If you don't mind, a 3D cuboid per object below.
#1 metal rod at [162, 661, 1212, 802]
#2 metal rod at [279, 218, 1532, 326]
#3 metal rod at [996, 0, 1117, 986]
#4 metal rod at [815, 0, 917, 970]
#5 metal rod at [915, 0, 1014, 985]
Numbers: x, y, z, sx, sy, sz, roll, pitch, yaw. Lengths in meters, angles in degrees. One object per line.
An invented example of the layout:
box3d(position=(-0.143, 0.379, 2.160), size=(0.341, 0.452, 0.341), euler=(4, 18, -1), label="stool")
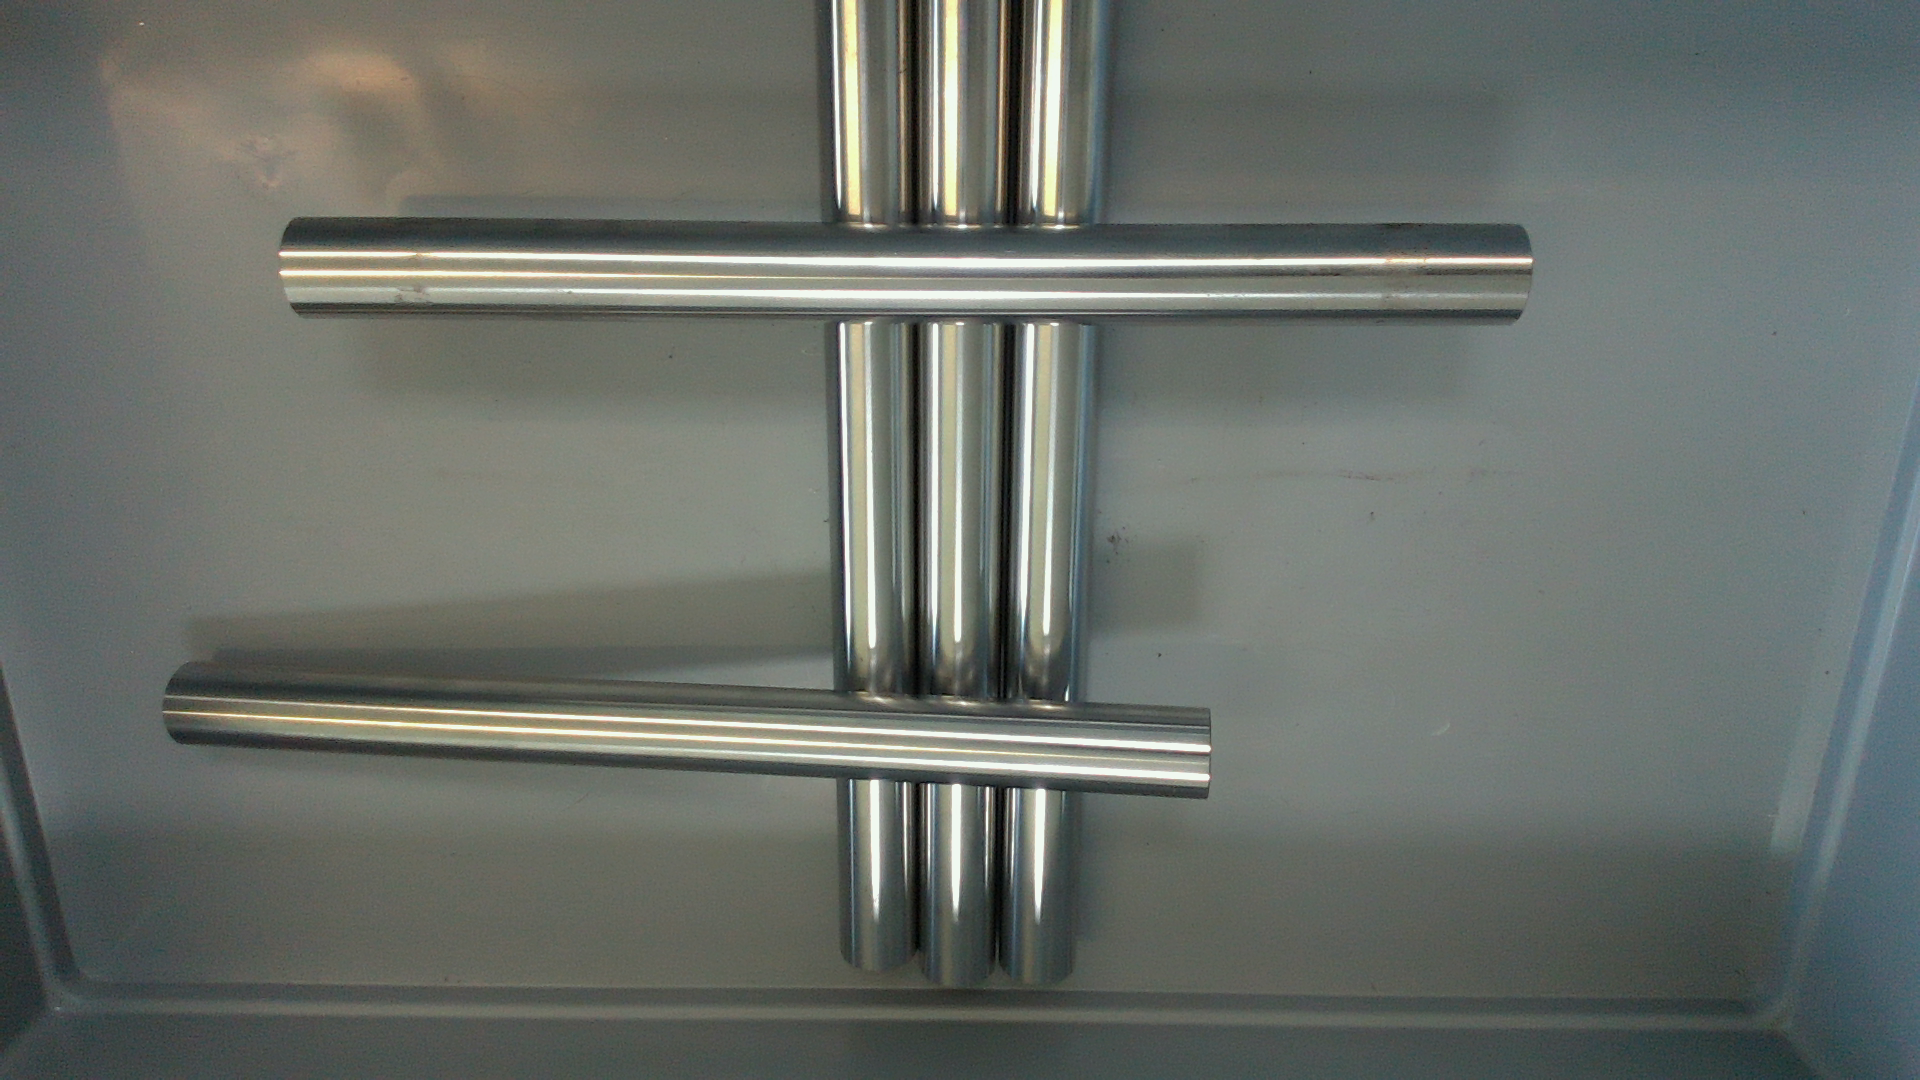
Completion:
box3d(position=(-0.081, 0.054, 0.393), size=(0.300, 0.025, 0.025), euler=(2, 110, 7), label="metal rod")
box3d(position=(-0.013, -0.066, 0.342), size=(0.300, 0.025, 0.025), euler=(0, 110, 0), label="metal rod")
box3d(position=(0.025, -0.005, 0.391), size=(0.025, 0.025, 0.300), euler=(1, 110, 0), label="metal rod")
box3d(position=(-0.025, -0.011, 0.390), size=(0.025, 0.025, 0.300), euler=(0, 110, 0), label="metal rod")
box3d(position=(0.000, -0.005, 0.392), size=(0.025, 0.025, 0.300), euler=(1, 110, 0), label="metal rod")
